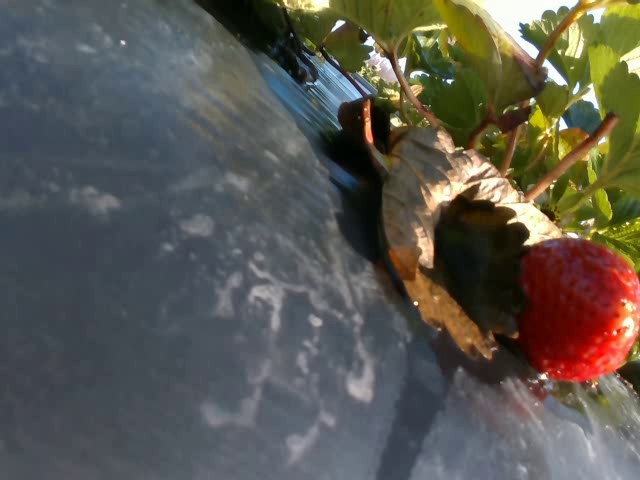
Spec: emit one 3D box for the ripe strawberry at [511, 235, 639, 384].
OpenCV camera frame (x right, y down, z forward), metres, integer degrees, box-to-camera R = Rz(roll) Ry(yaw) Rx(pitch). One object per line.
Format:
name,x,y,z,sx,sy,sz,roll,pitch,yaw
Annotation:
ripe strawberry,0.058,0.018,0.124,0.037,0.047,0.054,-31,-1,11
